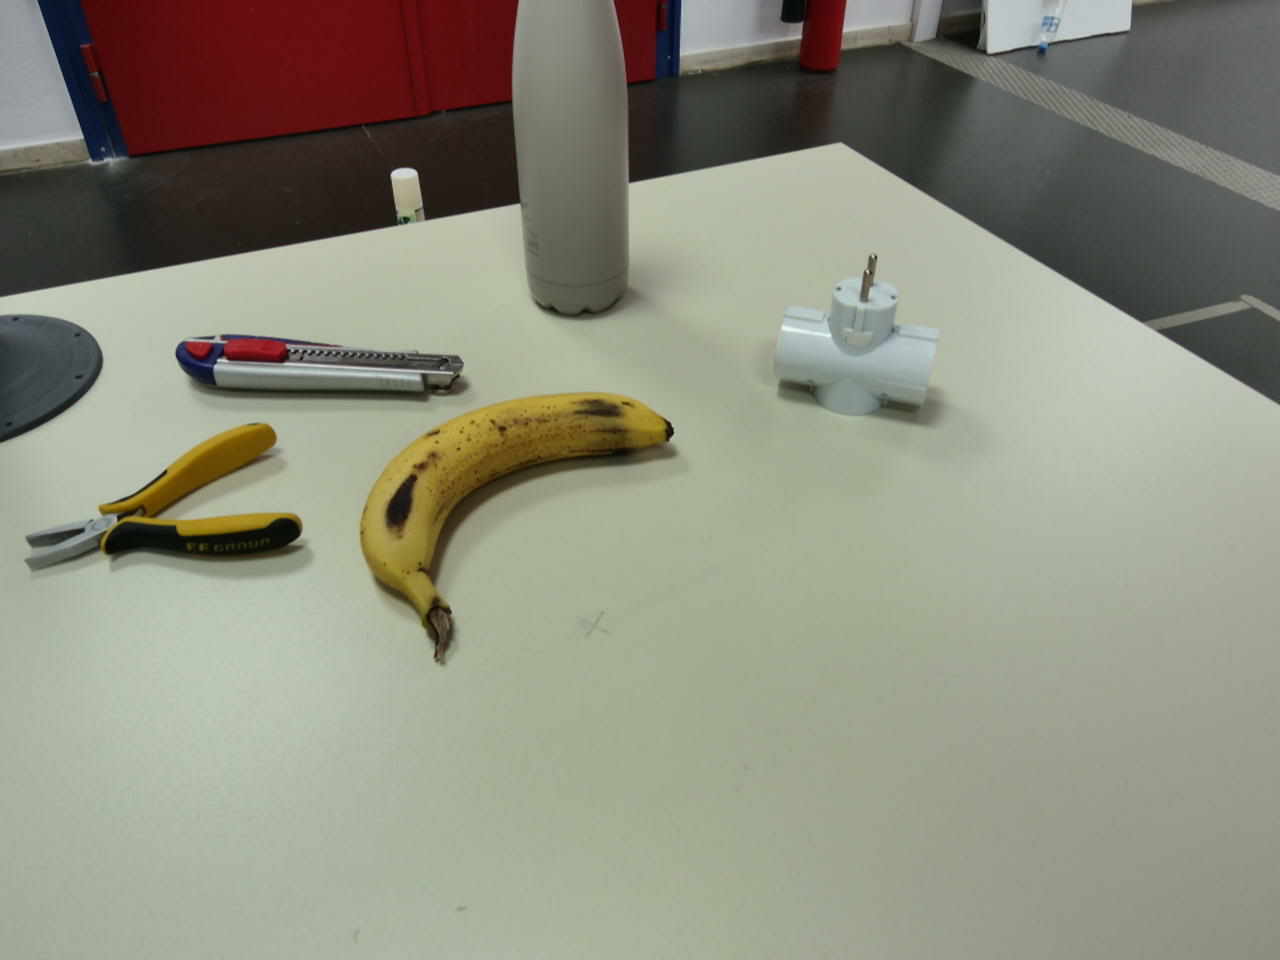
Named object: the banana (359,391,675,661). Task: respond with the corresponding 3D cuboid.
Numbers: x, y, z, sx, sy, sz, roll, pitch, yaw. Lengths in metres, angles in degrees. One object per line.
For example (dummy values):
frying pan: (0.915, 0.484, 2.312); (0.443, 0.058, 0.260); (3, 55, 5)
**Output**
banana: (-0.071, -0.001, 0.519); (0.097, 0.038, 0.186); (25, 44, 28)
